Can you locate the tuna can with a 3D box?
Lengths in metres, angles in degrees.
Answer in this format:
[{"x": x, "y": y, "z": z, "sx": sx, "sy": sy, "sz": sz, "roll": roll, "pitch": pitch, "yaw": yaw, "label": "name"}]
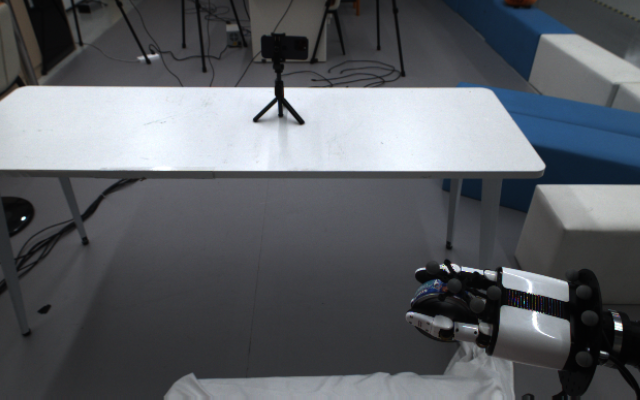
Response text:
[{"x": 0.168, "y": 0.143, "z": 0.639, "sx": 0.085, "sy": 0.085, "sz": 0.034, "roll": 12, "pitch": 33, "yaw": 14, "label": "tuna can"}]
